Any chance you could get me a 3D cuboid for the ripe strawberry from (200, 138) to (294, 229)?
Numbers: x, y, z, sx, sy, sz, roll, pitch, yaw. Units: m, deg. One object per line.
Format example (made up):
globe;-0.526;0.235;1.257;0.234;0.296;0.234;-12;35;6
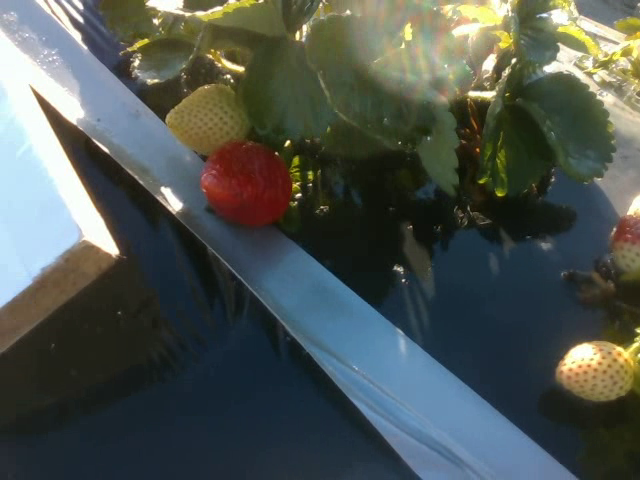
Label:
ripe strawberry;-0.035;-0.025;0.264;0.045;0.049;0.063;-16;3;14
